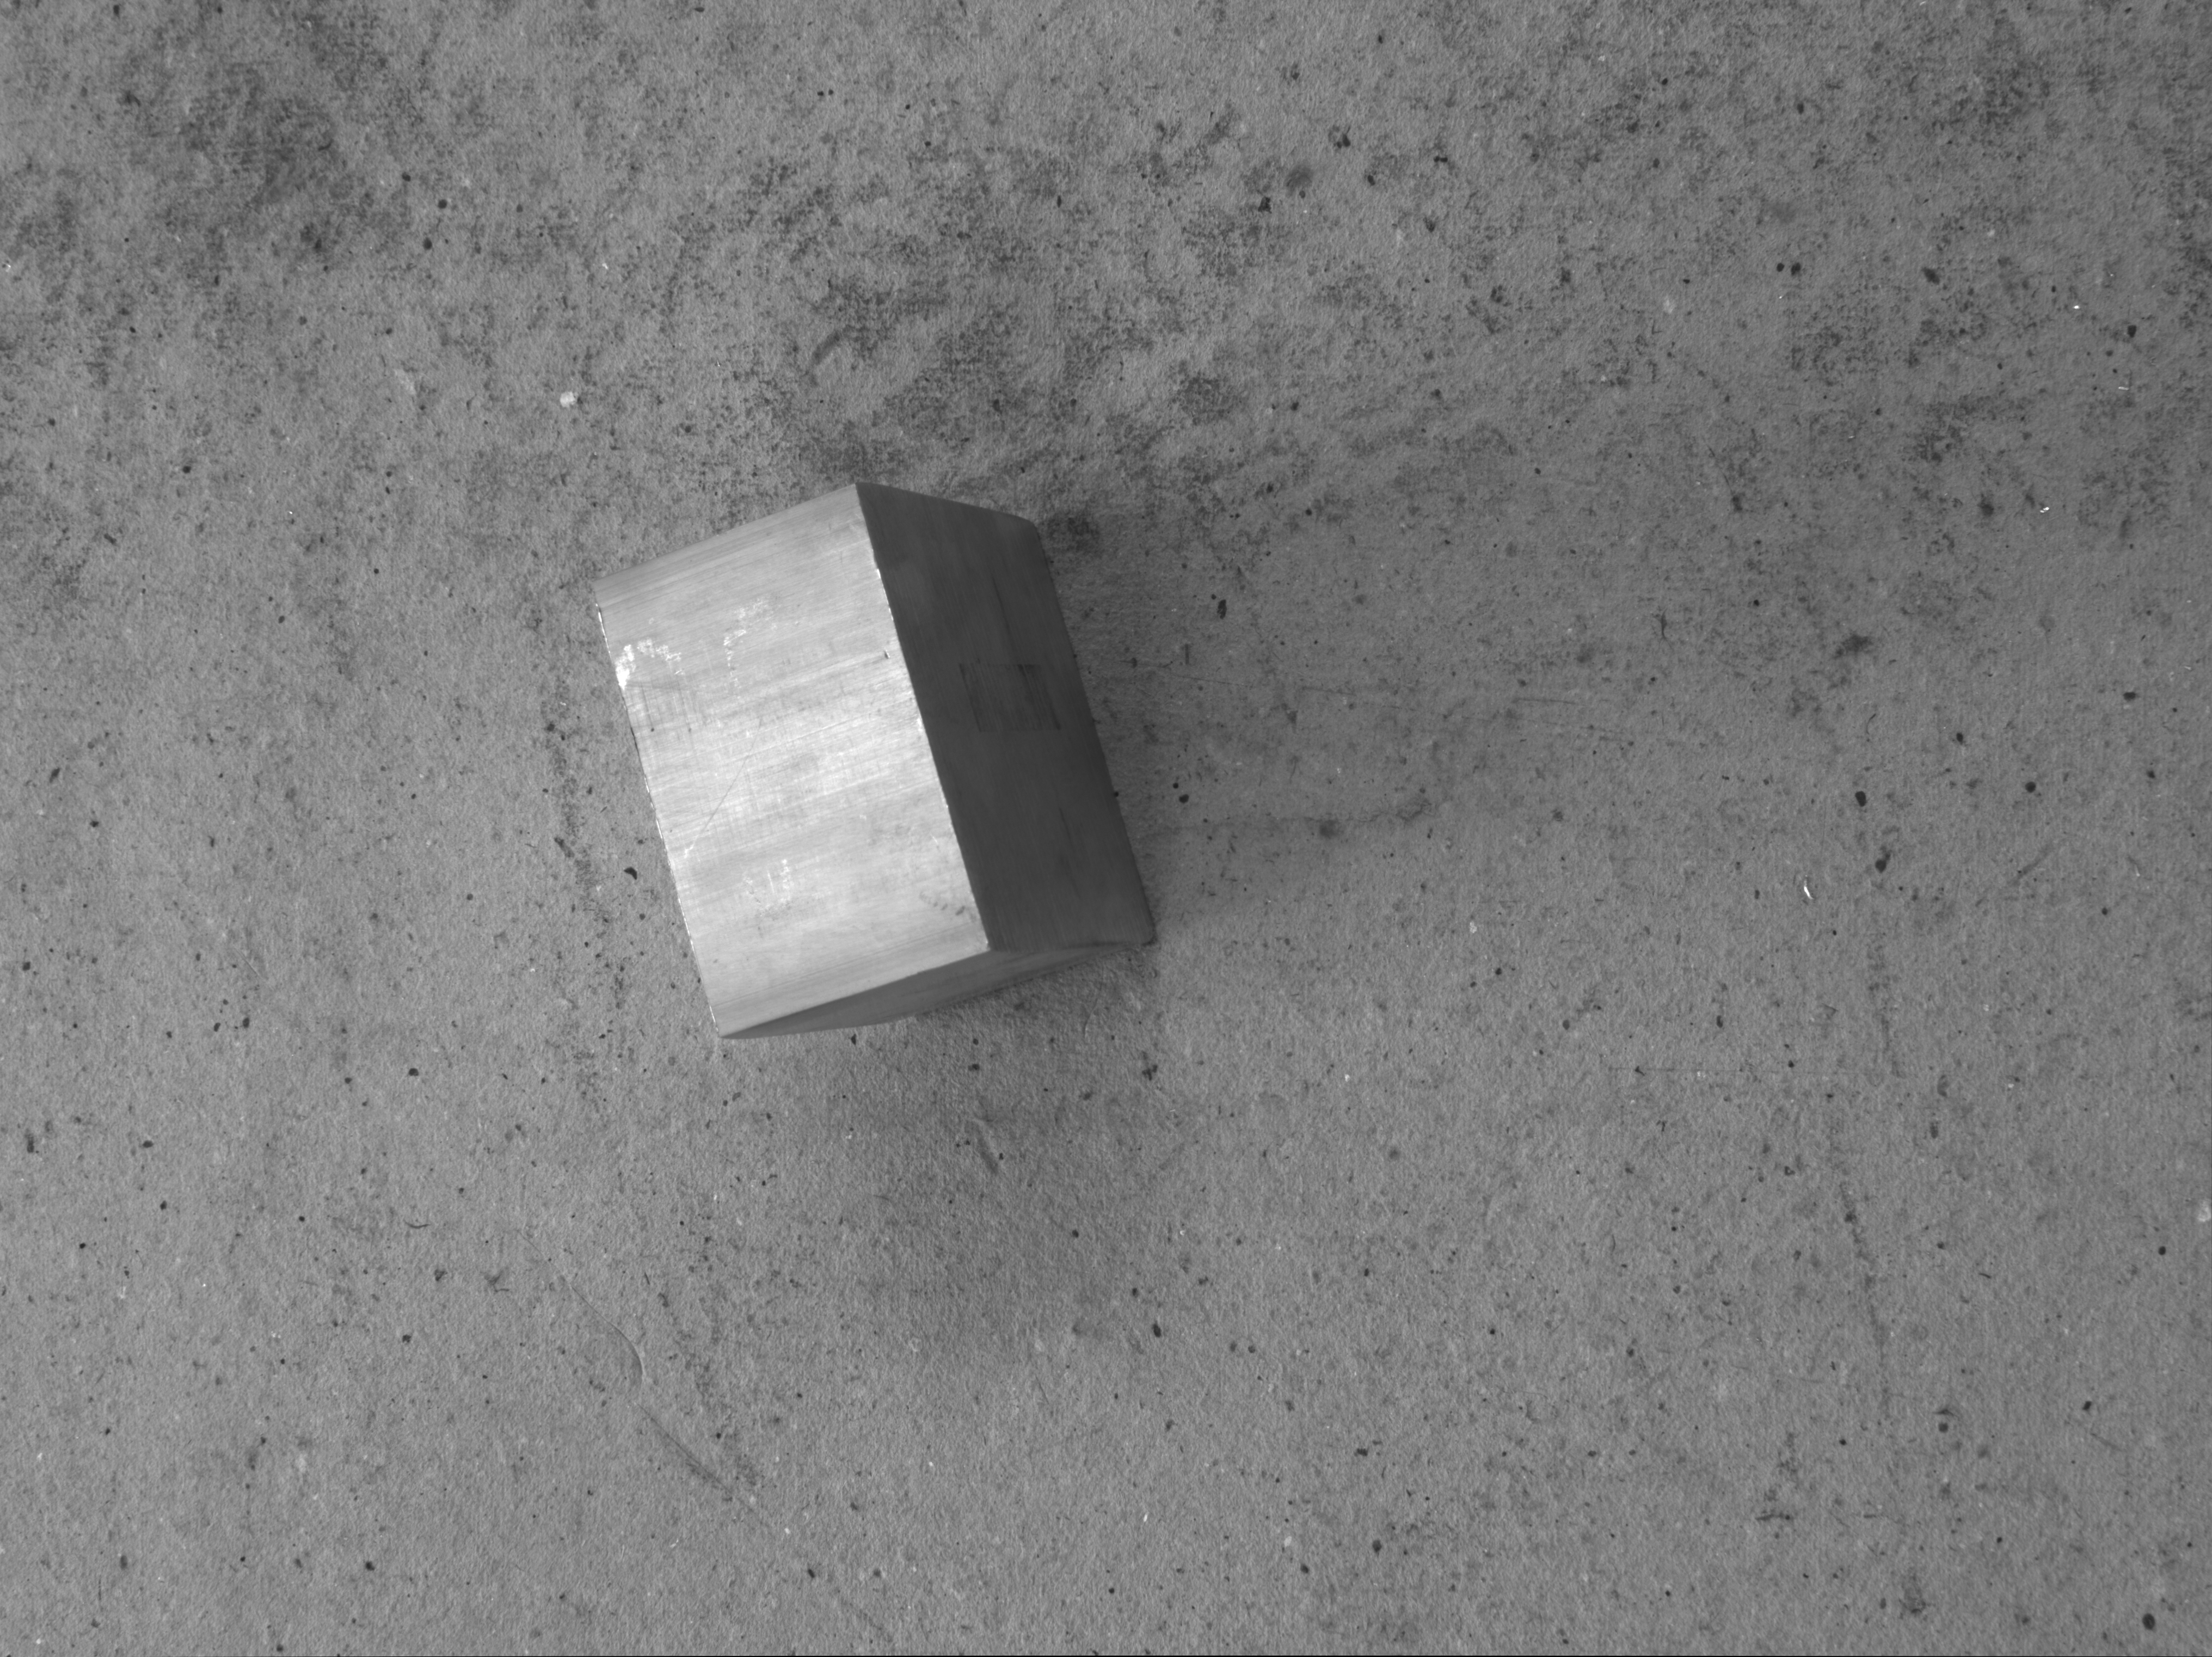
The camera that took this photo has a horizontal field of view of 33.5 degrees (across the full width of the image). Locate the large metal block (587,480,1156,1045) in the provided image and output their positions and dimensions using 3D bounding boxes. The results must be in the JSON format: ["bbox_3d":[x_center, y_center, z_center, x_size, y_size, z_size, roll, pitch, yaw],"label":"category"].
[{"bbox_3d":[-0.038,-0.010,0.631,0.050,0.080,0.080,-18,84,19],"label":"large metal block"}]
